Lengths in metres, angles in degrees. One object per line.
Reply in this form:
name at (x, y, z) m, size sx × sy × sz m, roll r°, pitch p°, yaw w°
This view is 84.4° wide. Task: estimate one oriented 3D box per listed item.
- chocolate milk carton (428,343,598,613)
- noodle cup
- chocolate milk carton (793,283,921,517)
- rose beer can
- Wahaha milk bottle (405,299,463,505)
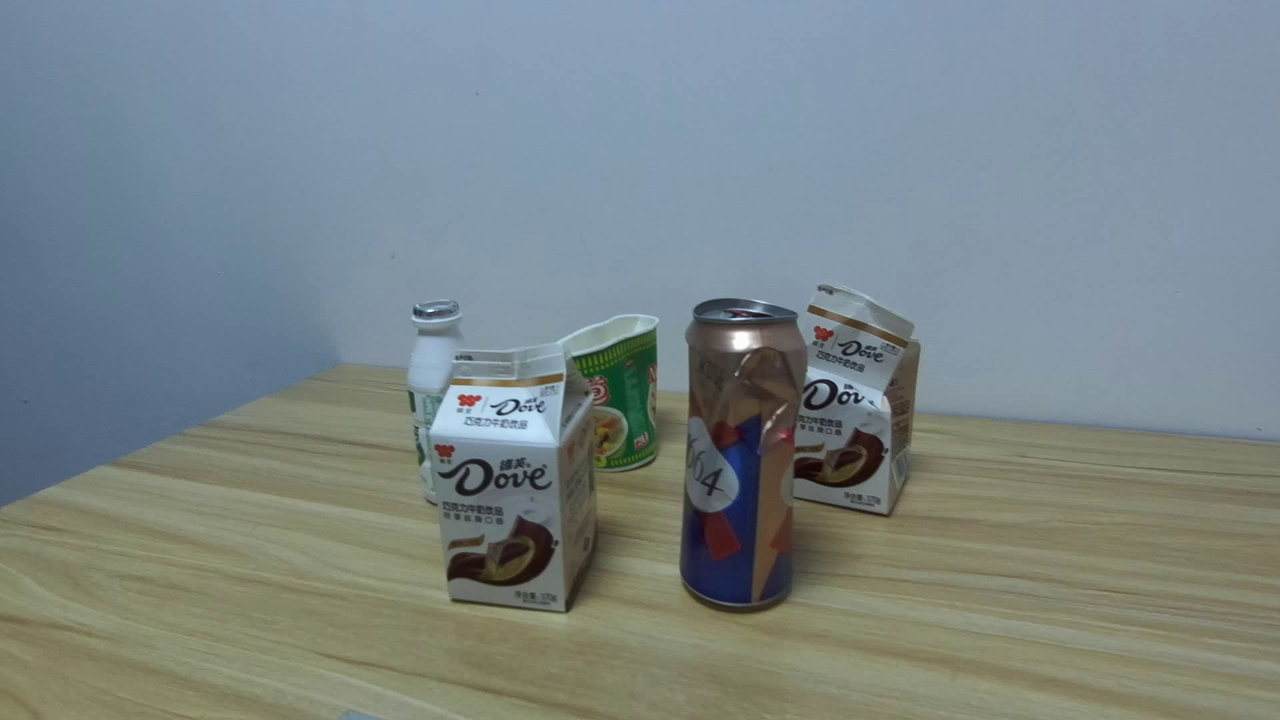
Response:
chocolate milk carton at (-0.069, 0.061, 0.409) m, size 0.075 × 0.148 × 0.074 m, roll 3°, pitch 19°, yaw 11°
noodle cup at (-0.024, 0.026, 0.565) m, size 0.115 × 0.111 × 0.070 m, roll -15°, pitch 24°, yaw -35°
chocolate milk carton at (0.149, 0.021, 0.494) m, size 0.076 × 0.155 × 0.074 m, roll 9°, pitch 24°, yaw 27°
rose beer can at (0.057, 0.053, 0.391) m, size 0.065 × 0.167 × 0.076 m, roll 0°, pitch 15°, yaw -2°
Wahaha milk bottle at (-0.140, 0.030, 0.519) m, size 0.056 × 0.147 × 0.056 m, roll -1°, pitch 19°, yaw 1°
